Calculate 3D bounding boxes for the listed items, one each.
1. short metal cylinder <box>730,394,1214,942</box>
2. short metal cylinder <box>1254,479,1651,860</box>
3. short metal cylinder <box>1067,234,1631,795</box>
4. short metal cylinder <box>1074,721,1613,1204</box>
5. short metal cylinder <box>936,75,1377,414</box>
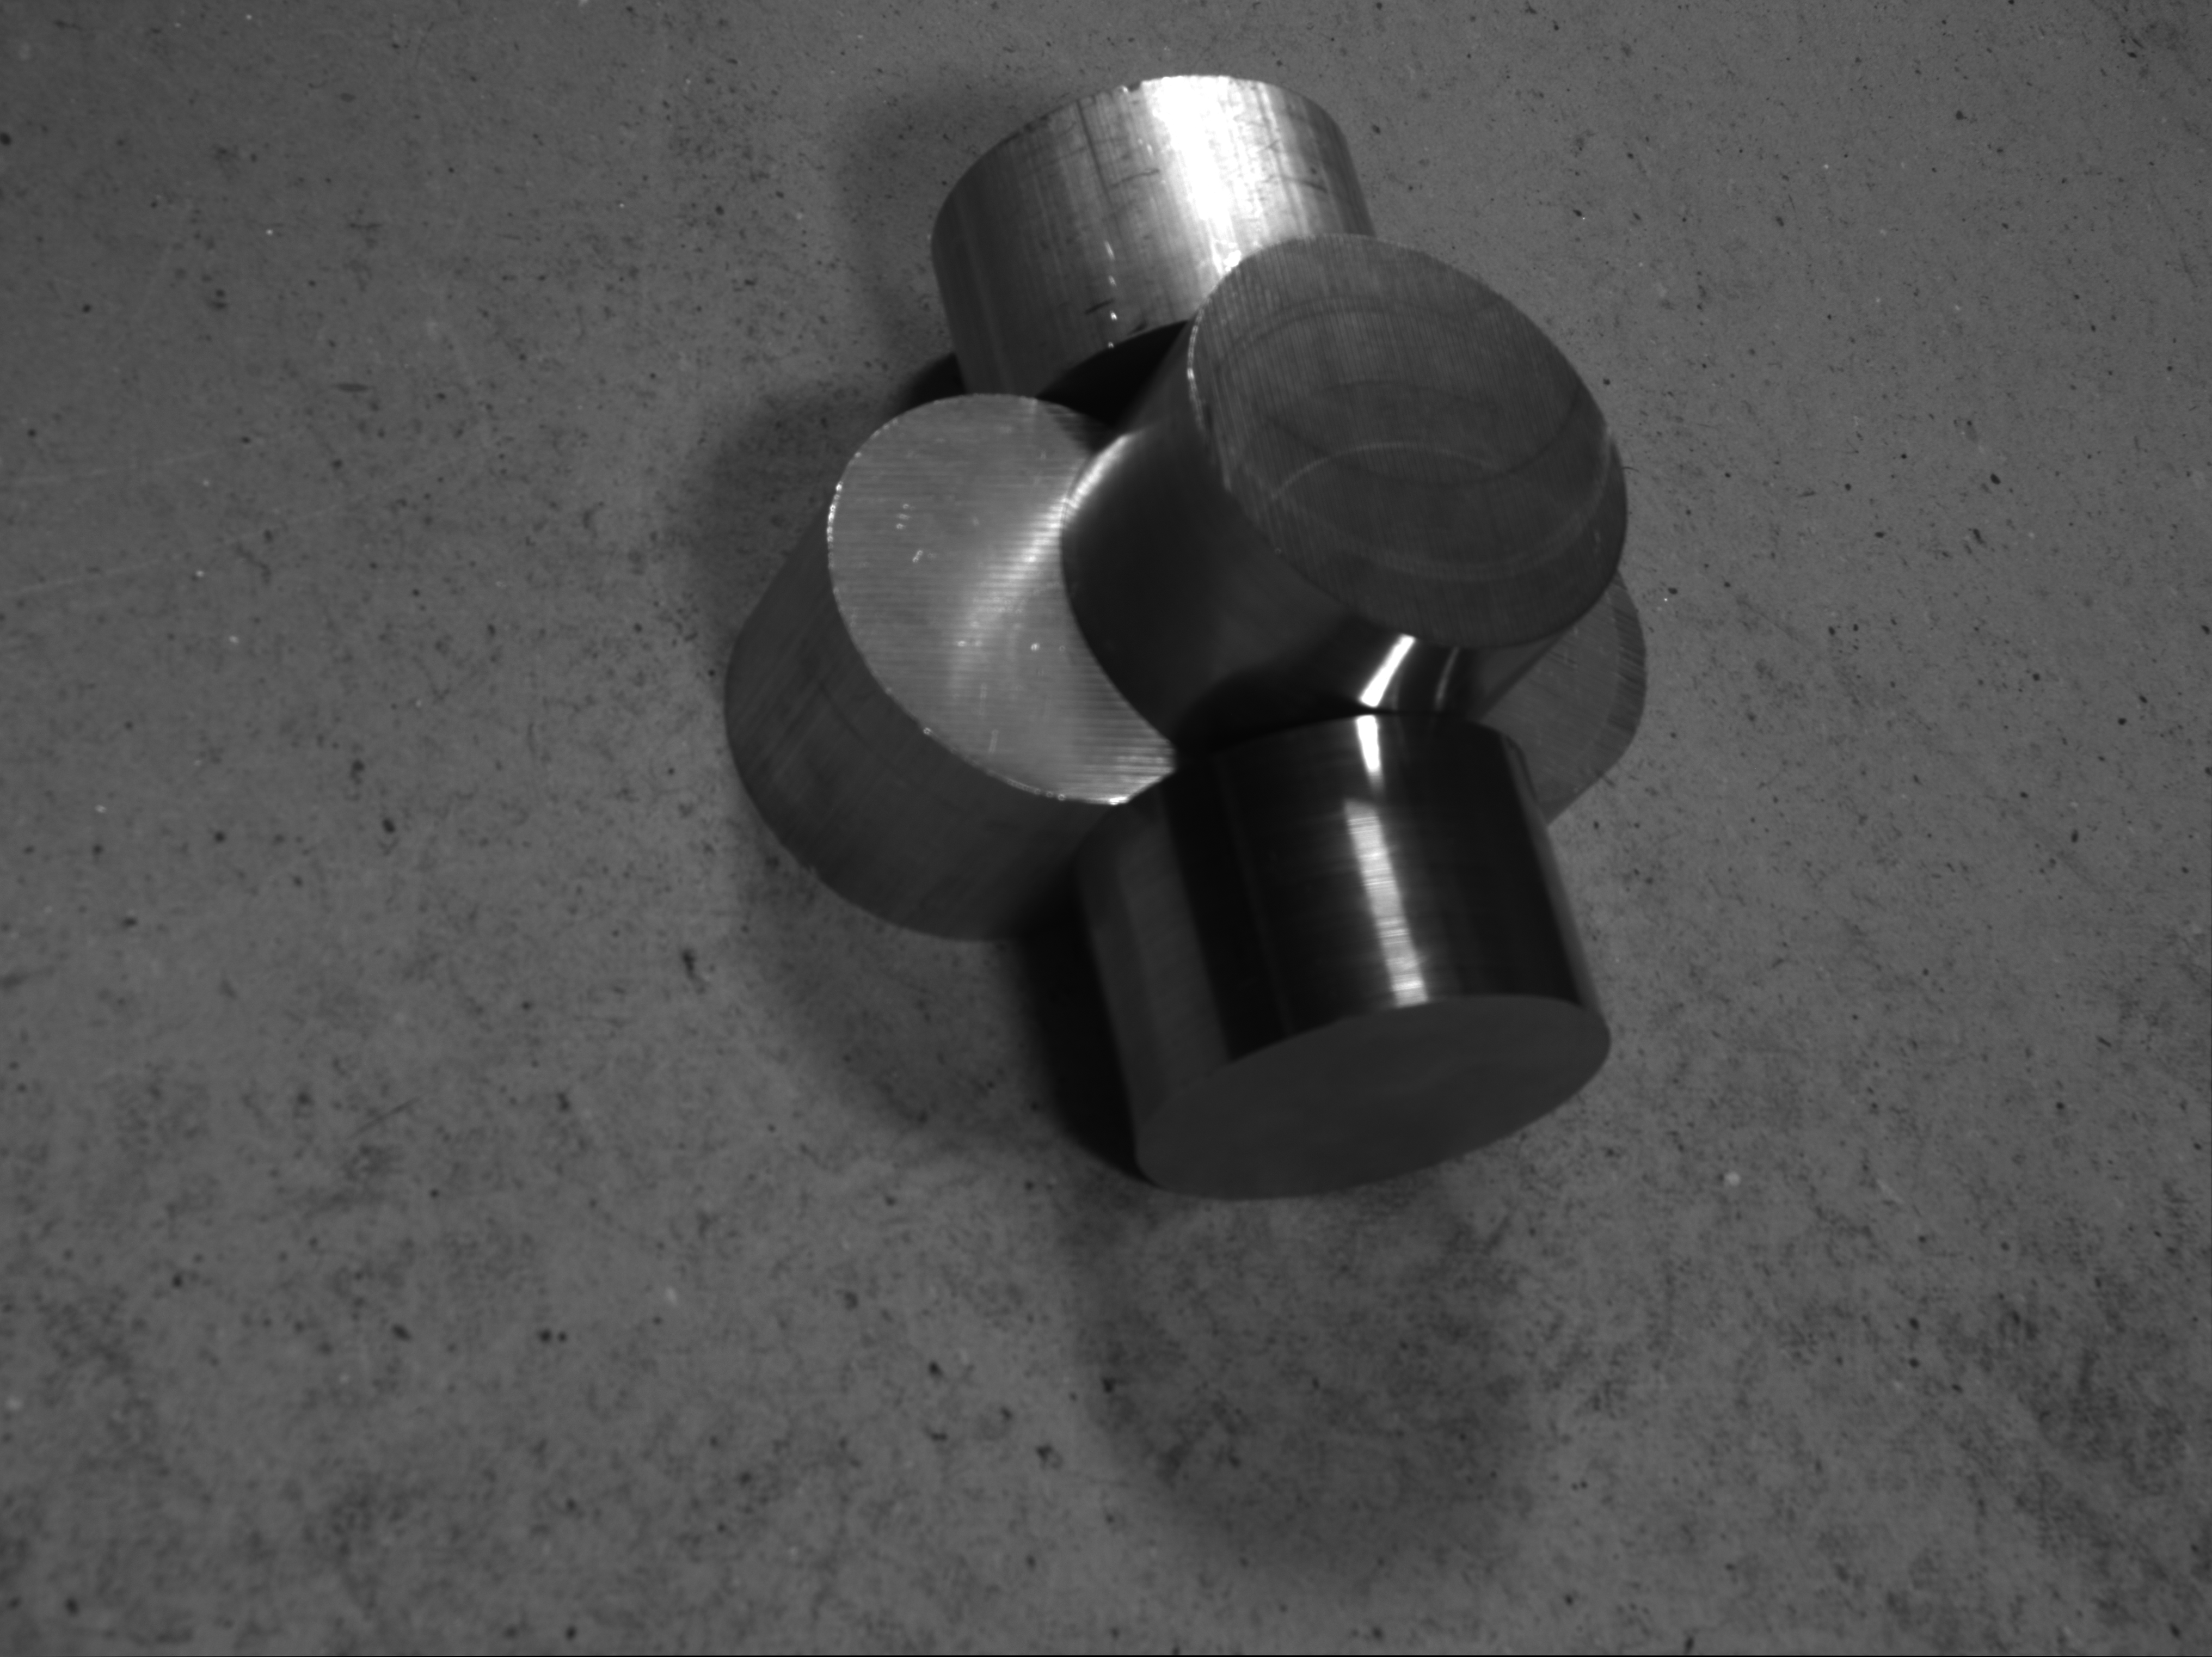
[{"bbox_3d":[-0.018,-0.027,0.631,0.080,0.050,0.080,14,56,-21],"label":"short metal cylinder"},{"bbox_3d":[0.052,-0.028,0.668,0.080,0.050,0.080,14,56,-21],"label":"short metal cylinder"},{"bbox_3d":[0.040,-0.052,0.612,0.080,0.050,0.080,14,56,-21],"label":"short metal cylinder"},{"bbox_3d":[0.039,0.024,0.612,0.080,0.080,0.050,0,61,-28],"label":"short metal cylinder"},{"bbox_3d":[0.013,-0.092,0.668,0.080,0.080,0.050,0,62,-28],"label":"short metal cylinder"}]
